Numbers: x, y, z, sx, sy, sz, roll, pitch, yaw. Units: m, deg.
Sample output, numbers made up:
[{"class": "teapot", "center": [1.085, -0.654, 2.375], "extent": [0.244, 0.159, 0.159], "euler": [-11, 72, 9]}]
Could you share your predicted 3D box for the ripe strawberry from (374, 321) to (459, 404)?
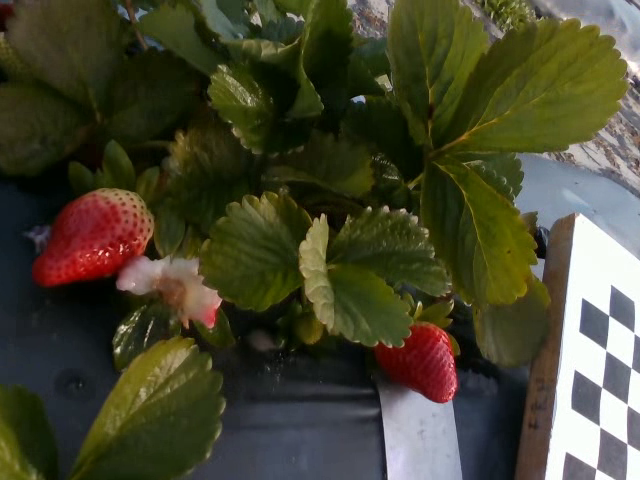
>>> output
[{"class": "ripe strawberry", "center": [0.052, 0.059, 0.272], "extent": [0.050, 0.055, 0.035], "euler": [32, -51, -26]}]
